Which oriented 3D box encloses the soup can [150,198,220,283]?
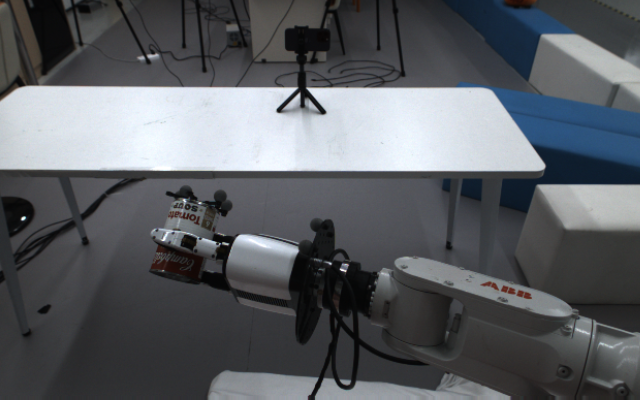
[{"bbox_3d":[-0.180,0.058,0.652,0.067,0.067,0.101,9,71,10],"label":"soup can"}]
